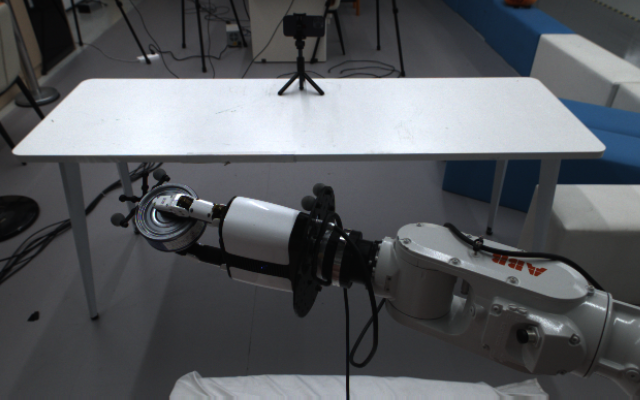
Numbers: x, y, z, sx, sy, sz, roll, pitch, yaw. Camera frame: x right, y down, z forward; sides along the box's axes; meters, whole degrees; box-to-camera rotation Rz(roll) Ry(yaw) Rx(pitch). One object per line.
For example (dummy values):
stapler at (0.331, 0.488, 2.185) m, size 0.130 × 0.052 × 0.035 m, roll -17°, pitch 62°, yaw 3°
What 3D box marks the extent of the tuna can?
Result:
tuna can at (-0.187, 0.027, 0.620) m, size 0.085 × 0.034 × 0.085 m, roll -1°, pitch 64°, yaw 1°
